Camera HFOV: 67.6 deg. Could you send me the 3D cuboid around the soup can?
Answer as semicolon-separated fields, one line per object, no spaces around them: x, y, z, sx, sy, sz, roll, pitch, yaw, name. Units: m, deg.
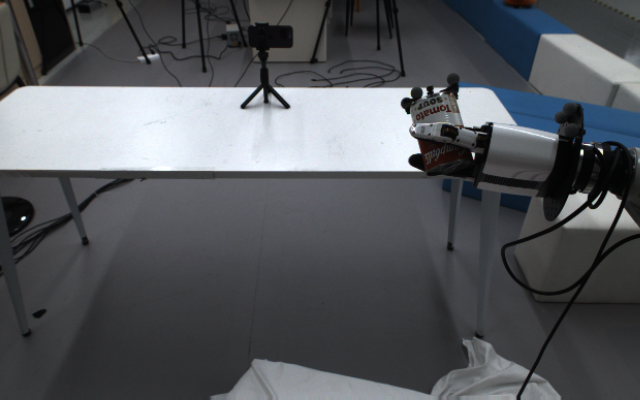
0.171;-0.093;0.687;0.067;0.067;0.101;-10;80;-16;soup can
